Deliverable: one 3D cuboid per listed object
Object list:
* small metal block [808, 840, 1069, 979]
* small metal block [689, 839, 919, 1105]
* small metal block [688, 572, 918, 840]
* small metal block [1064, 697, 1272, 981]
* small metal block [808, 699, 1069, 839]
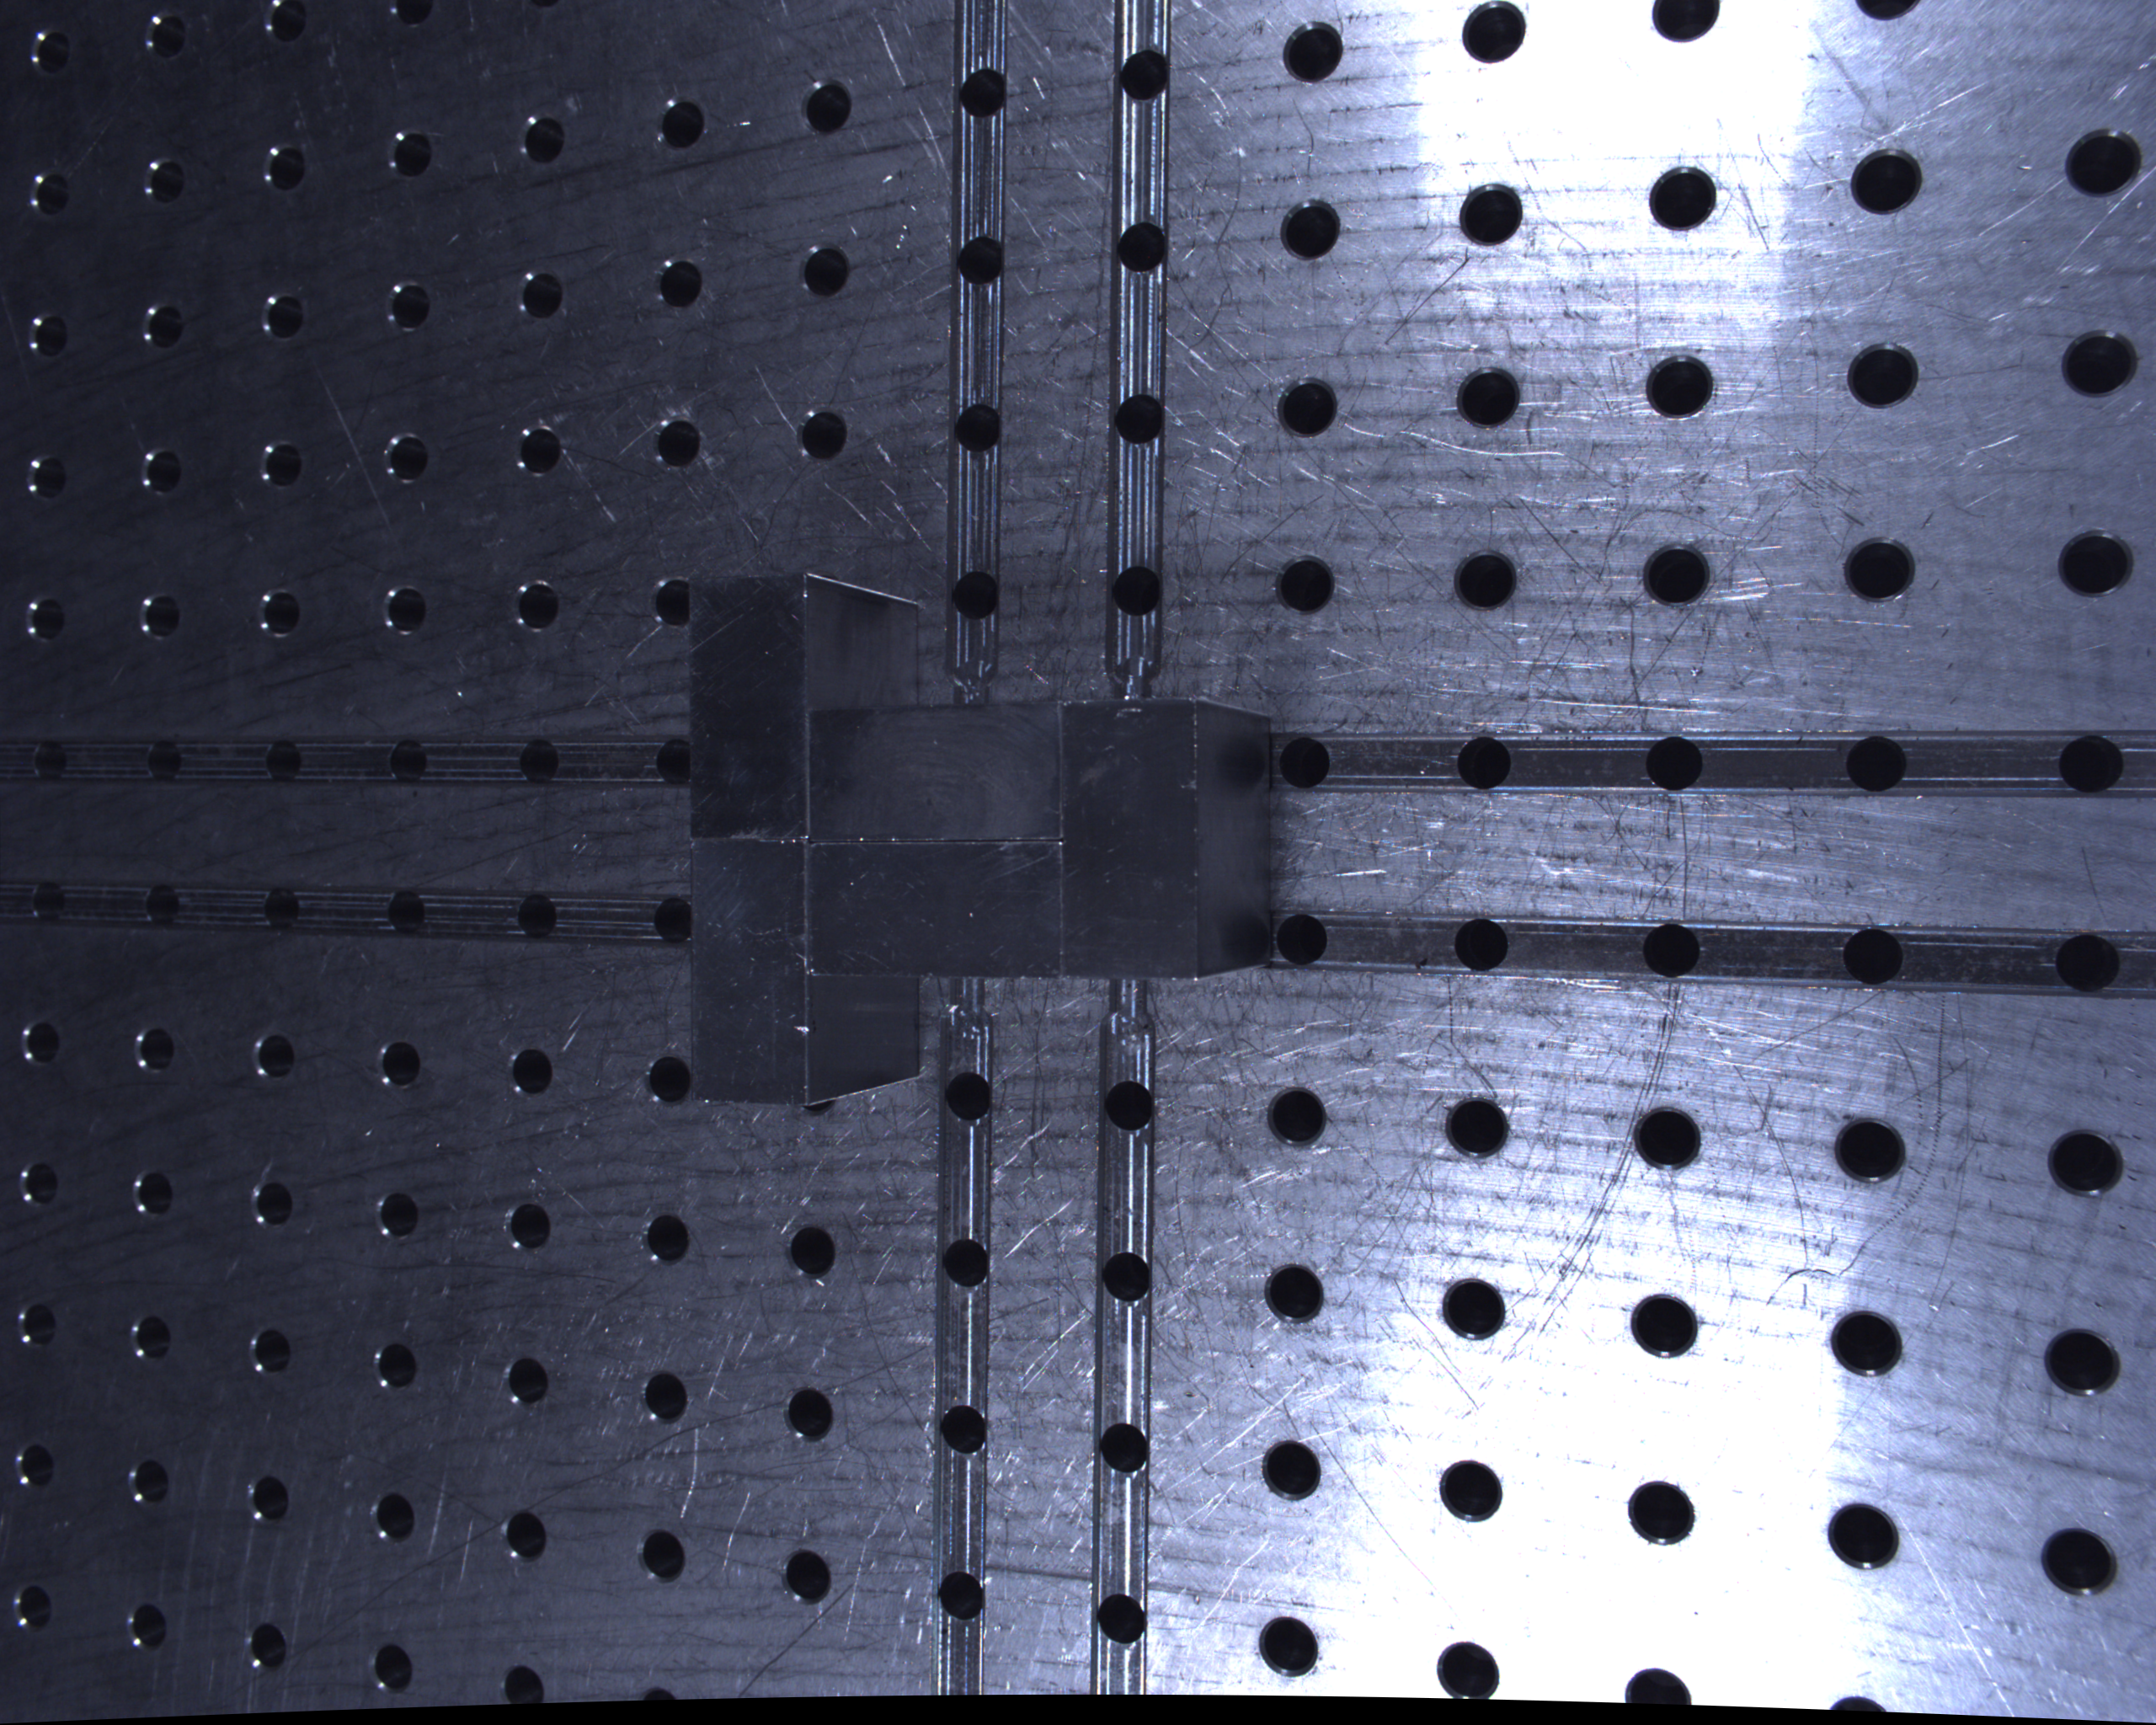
[{"bbox_3d":[-0.018,0.008,0.404,0.050,0.050,0.025,0,90,19],"label":"small metal block"},{"bbox_3d":[-0.054,0.020,0.416,0.025,0.050,0.050,0,90,20],"label":"small metal block"},{"bbox_3d":[-0.054,-0.029,0.416,0.025,0.050,0.050,0,90,20],"label":"small metal block"},{"bbox_3d":[0.018,-0.004,0.391,0.025,0.050,0.050,0,90,20],"label":"small metal block"},{"bbox_3d":[-0.018,-0.017,0.404,0.050,0.050,0.025,0,90,19],"label":"small metal block"}]
